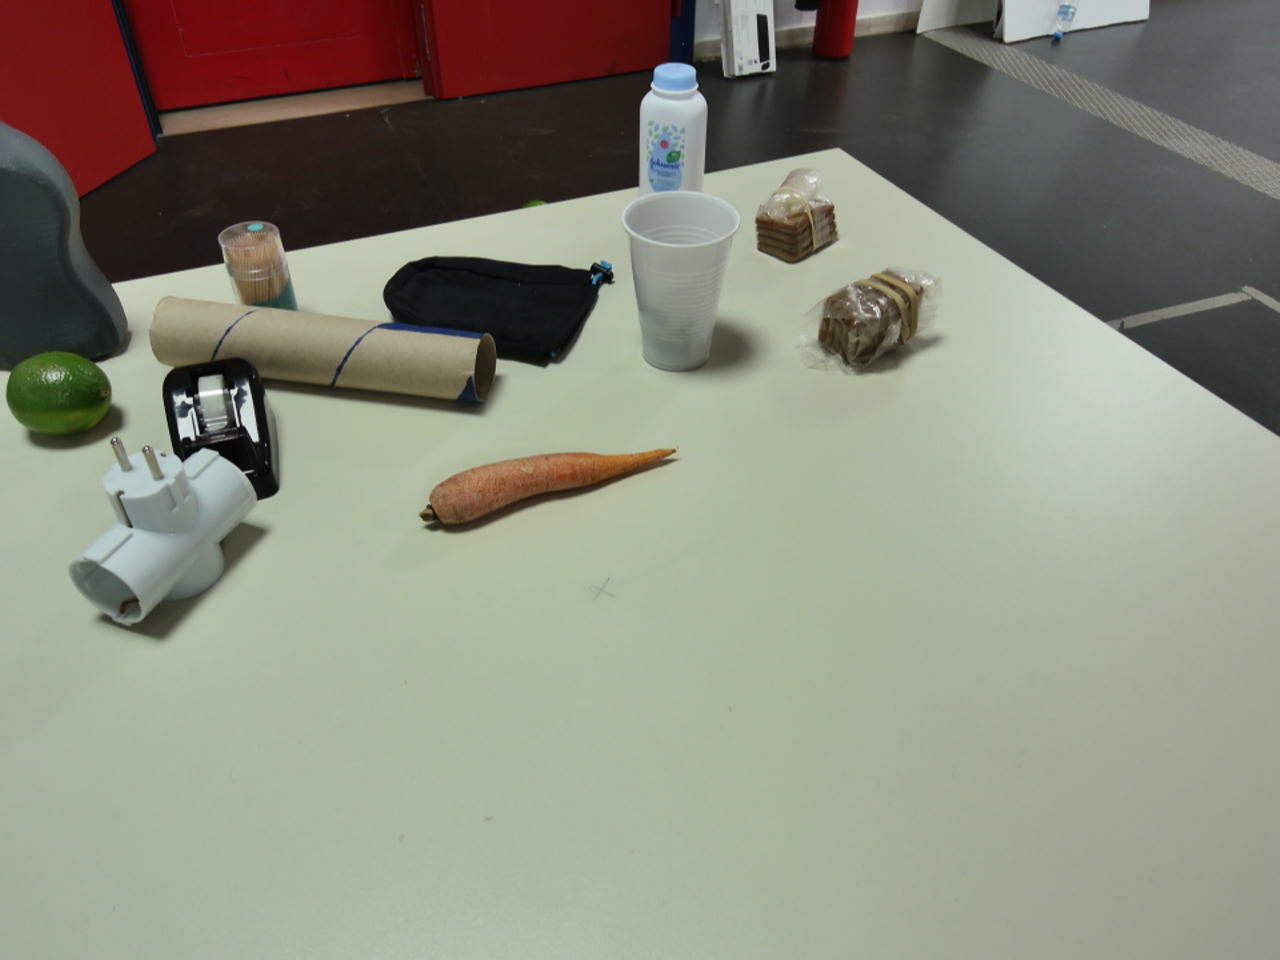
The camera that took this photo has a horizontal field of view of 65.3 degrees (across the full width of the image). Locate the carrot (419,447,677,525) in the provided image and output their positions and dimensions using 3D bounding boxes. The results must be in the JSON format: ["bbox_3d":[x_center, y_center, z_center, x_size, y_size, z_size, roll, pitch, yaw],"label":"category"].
[{"bbox_3d":[-0.053,-0.005,0.604,0.163,0.029,0.031,-16,42,-19],"label":"carrot"}]
